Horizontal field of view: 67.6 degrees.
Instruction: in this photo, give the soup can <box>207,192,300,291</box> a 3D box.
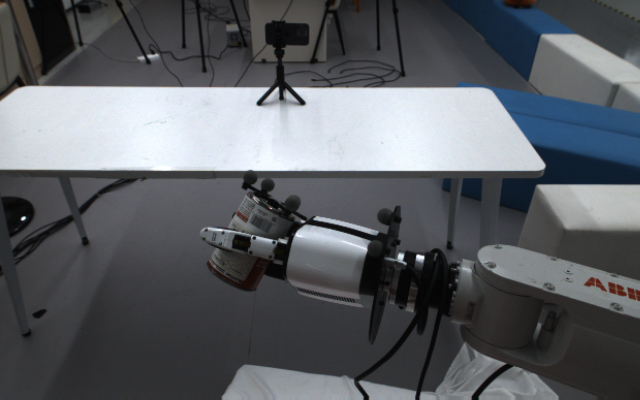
[{"bbox_3d":[-0.081,0.050,0.584,0.067,0.101,0.067,30,2,-1],"label":"soup can"}]
